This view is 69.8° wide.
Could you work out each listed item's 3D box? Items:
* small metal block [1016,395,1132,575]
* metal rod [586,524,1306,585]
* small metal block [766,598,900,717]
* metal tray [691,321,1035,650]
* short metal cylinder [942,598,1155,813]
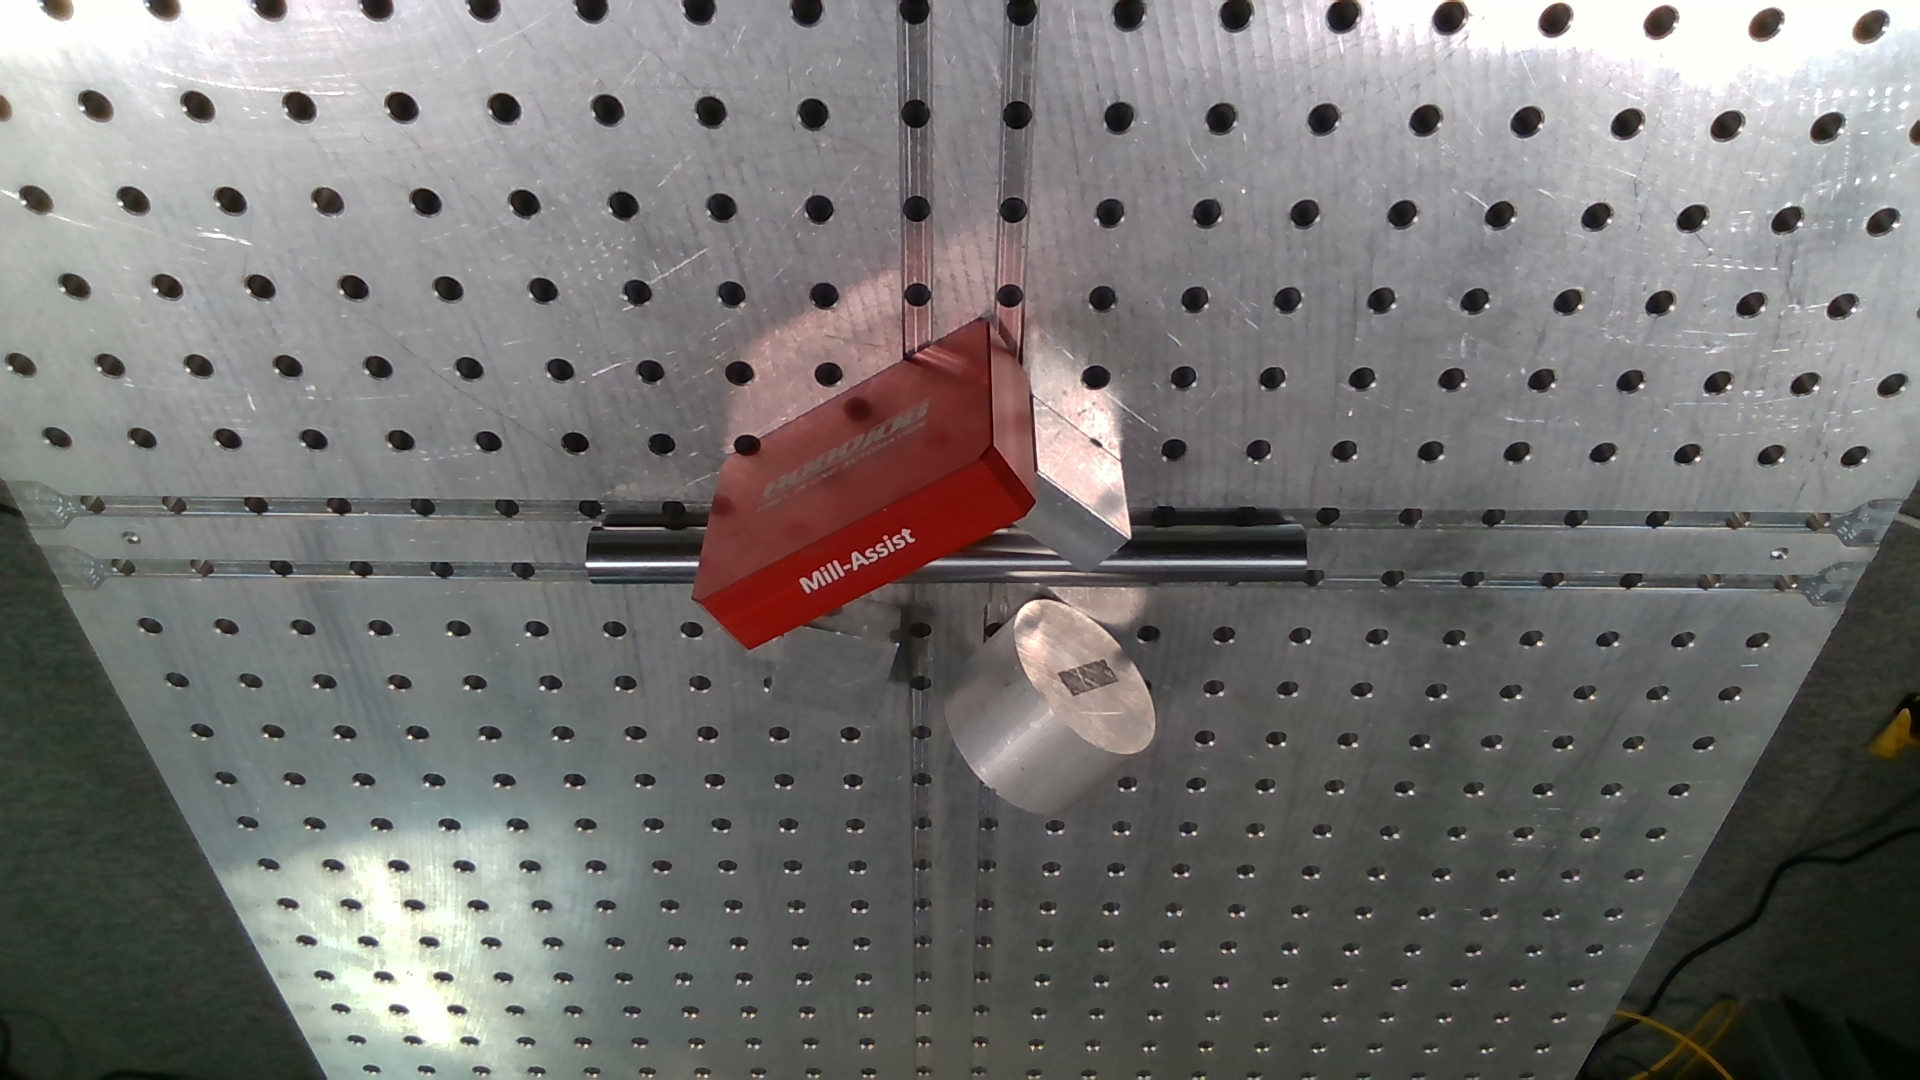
[{"bbox_3d":[0.039,-0.022,0.546,0.050,0.050,0.025,34,122,-25],"label":"small metal block"},{"bbox_3d":[-0.006,0.006,0.587,0.300,0.025,0.025,0,130,0],"label":"metal rod"},{"bbox_3d":[-0.058,0.050,0.625,0.050,0.025,0.050,12,129,-10],"label":"small metal block"},{"bbox_3d":[-0.036,-0.021,0.521,0.130,0.090,0.030,-26,125,20],"label":"metal tray"},{"bbox_3d":[0.039,0.073,0.607,0.080,0.080,0.050,30,124,-23],"label":"short metal cylinder"}]
